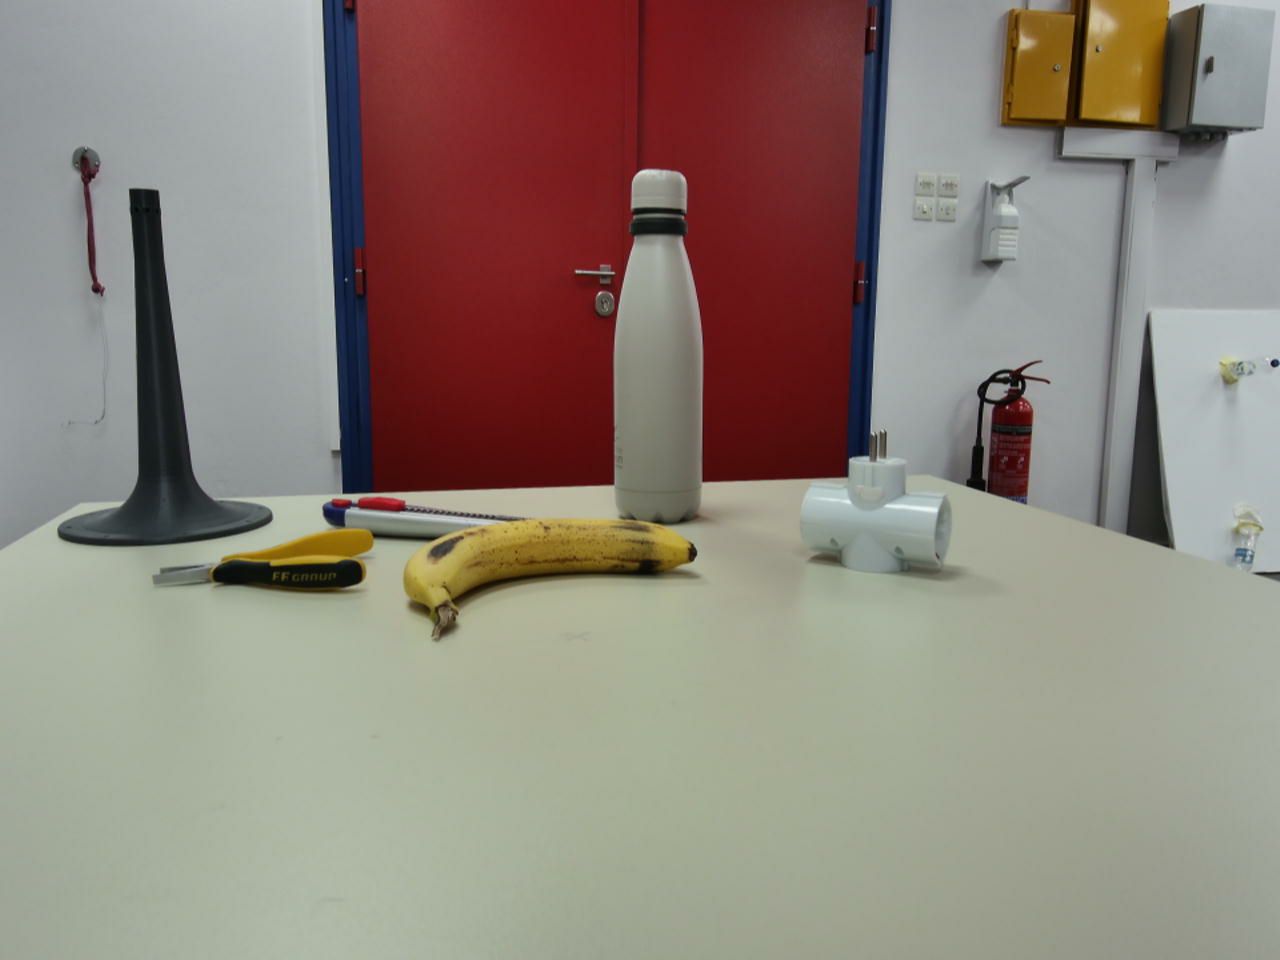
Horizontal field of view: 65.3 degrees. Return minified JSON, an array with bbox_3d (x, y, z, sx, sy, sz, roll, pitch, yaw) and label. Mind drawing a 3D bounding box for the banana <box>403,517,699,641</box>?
[{"bbox_3d":[-0.061,0.048,0.603,0.186,0.038,0.097,-6,10,-40],"label":"banana"}]
